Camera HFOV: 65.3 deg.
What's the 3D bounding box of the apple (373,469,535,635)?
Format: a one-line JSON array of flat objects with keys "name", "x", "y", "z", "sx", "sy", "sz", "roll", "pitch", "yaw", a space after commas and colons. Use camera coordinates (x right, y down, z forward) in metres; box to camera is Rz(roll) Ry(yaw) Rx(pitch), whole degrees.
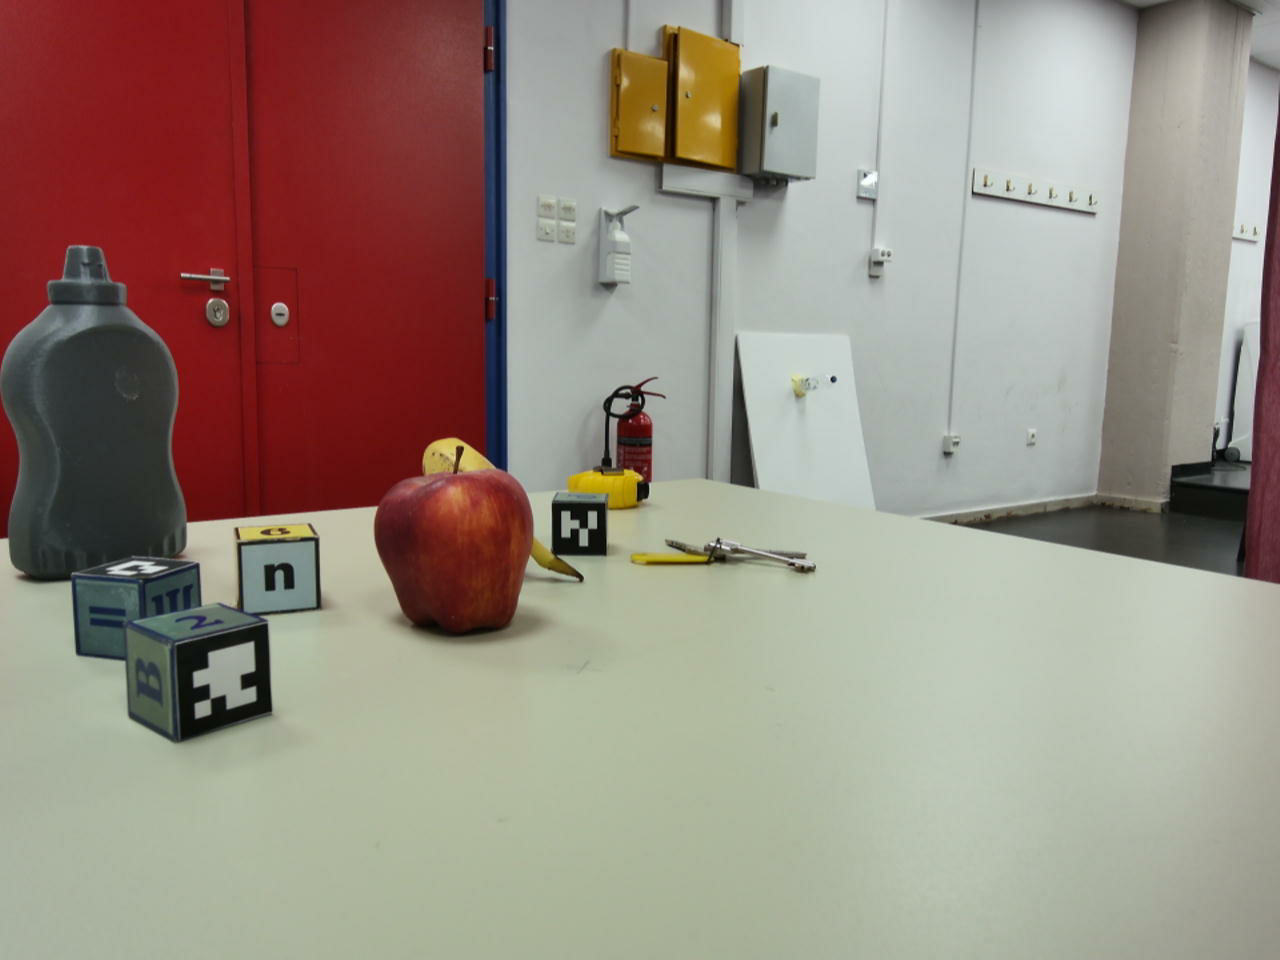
[{"name": "apple", "x": -0.093, "y": 0.029, "z": 0.506, "sx": 0.083, "sy": 0.090, "sz": 0.083, "roll": 2, "pitch": 6, "yaw": 0}]
